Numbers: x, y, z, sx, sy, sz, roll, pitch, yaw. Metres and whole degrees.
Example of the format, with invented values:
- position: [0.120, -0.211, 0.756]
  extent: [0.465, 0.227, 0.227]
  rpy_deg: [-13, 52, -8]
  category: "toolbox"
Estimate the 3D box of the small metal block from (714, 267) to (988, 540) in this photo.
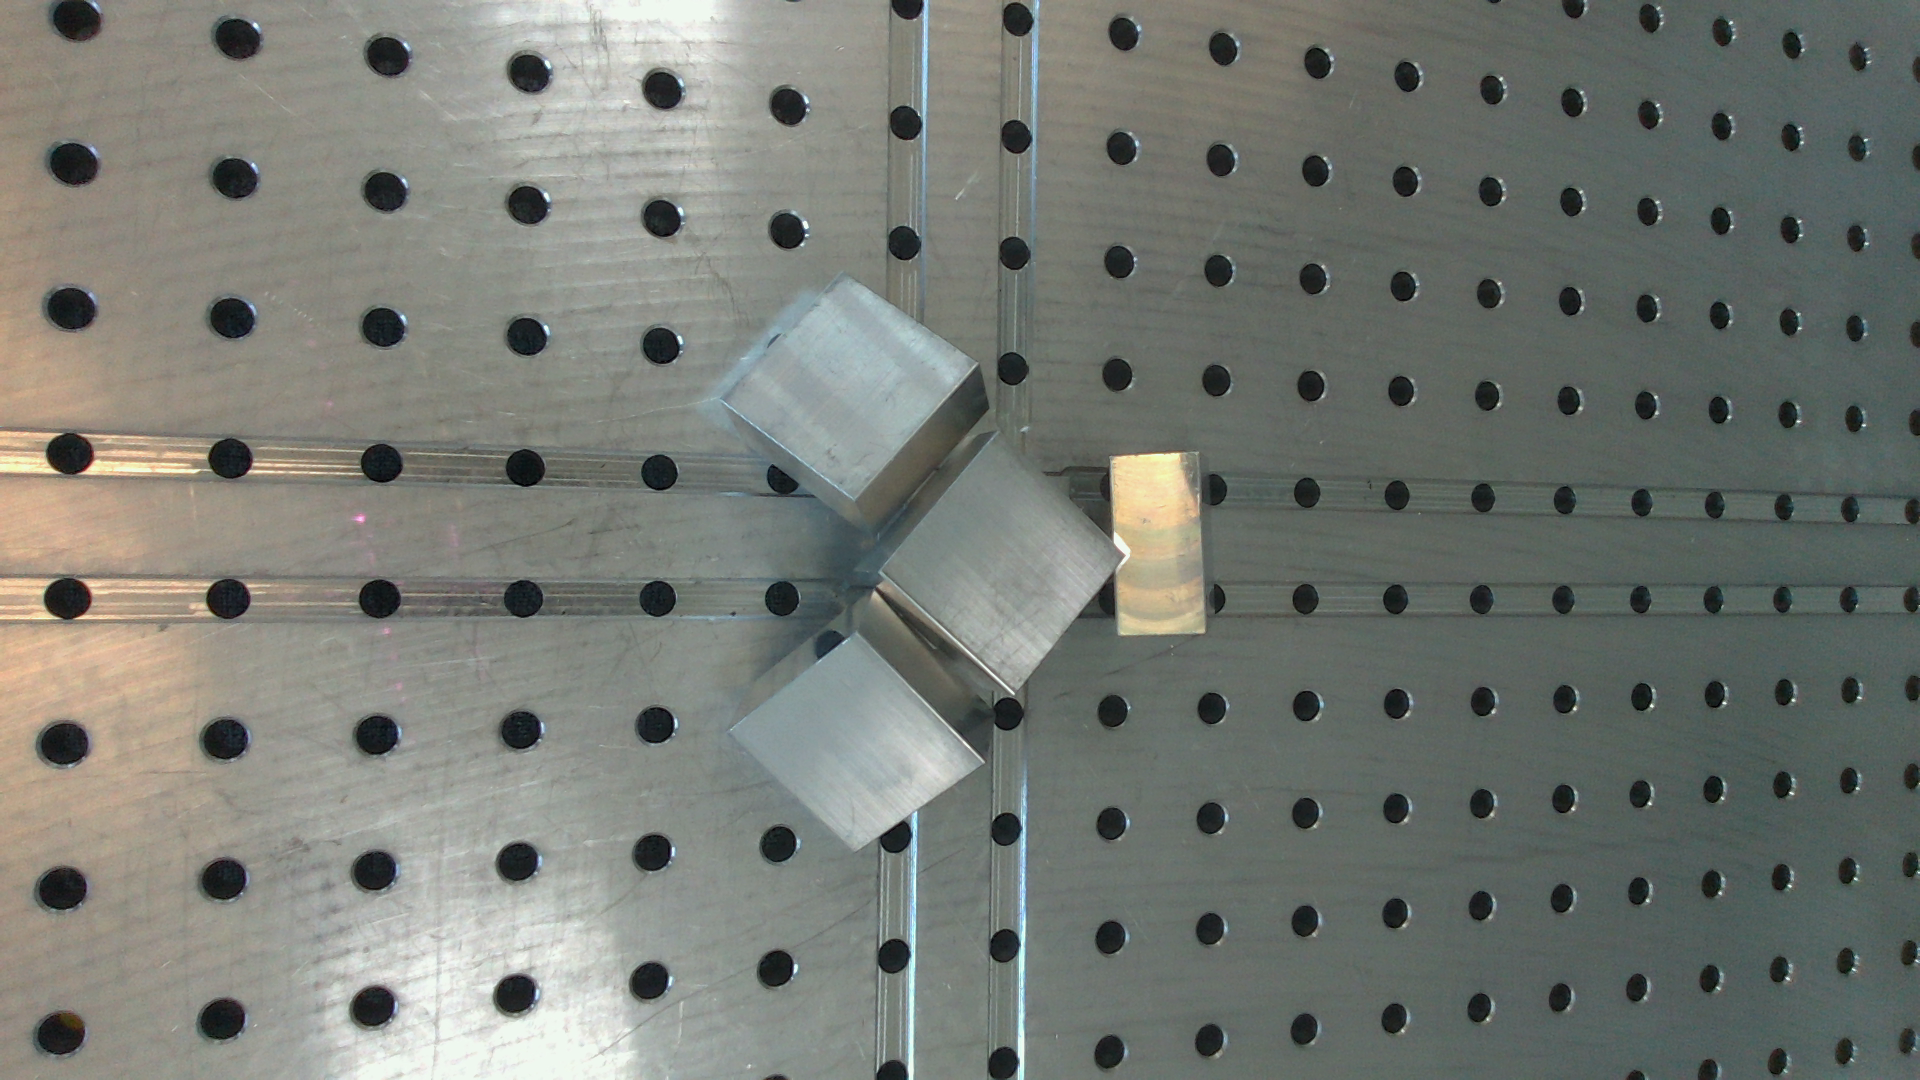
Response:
- position: [-0.029, -0.037, 0.372]
  extent: [0.050, 0.025, 0.050]
  rpy_deg: [36, 76, 20]
  category: "small metal block"

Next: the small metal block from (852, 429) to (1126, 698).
- position: [0.007, 0.006, 0.372]
  extent: [0.050, 0.025, 0.050]
  rpy_deg: [43, 76, -15]
  category: "small metal block"

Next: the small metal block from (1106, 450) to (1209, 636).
- position: [0.059, 0.000, 0.401]
  extent: [0.025, 0.050, 0.050]
  rpy_deg: [-2, 91, 13]
  category: "small metal block"

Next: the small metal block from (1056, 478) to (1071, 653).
- position: [0.003, 0.006, 0.397]
  extent: [0.050, 0.025, 0.050]
  rpy_deg: [2, 92, -20]
  category: "small metal block"

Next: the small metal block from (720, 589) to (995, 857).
- position: [-0.027, 0.050, 0.372]
  extent: [0.050, 0.025, 0.050]
  rpy_deg: [-38, 105, 22]
  category: "small metal block"
